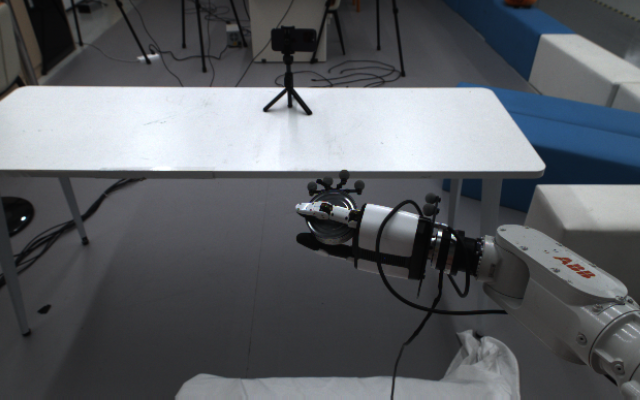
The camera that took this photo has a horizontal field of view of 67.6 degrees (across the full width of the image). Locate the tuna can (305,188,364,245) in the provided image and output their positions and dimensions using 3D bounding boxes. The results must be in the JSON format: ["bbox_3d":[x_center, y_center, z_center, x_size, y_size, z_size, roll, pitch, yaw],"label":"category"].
[{"bbox_3d":[0.021,0.028,0.776,0.085,0.034,0.085,-6,61,10],"label":"tuna can"}]
